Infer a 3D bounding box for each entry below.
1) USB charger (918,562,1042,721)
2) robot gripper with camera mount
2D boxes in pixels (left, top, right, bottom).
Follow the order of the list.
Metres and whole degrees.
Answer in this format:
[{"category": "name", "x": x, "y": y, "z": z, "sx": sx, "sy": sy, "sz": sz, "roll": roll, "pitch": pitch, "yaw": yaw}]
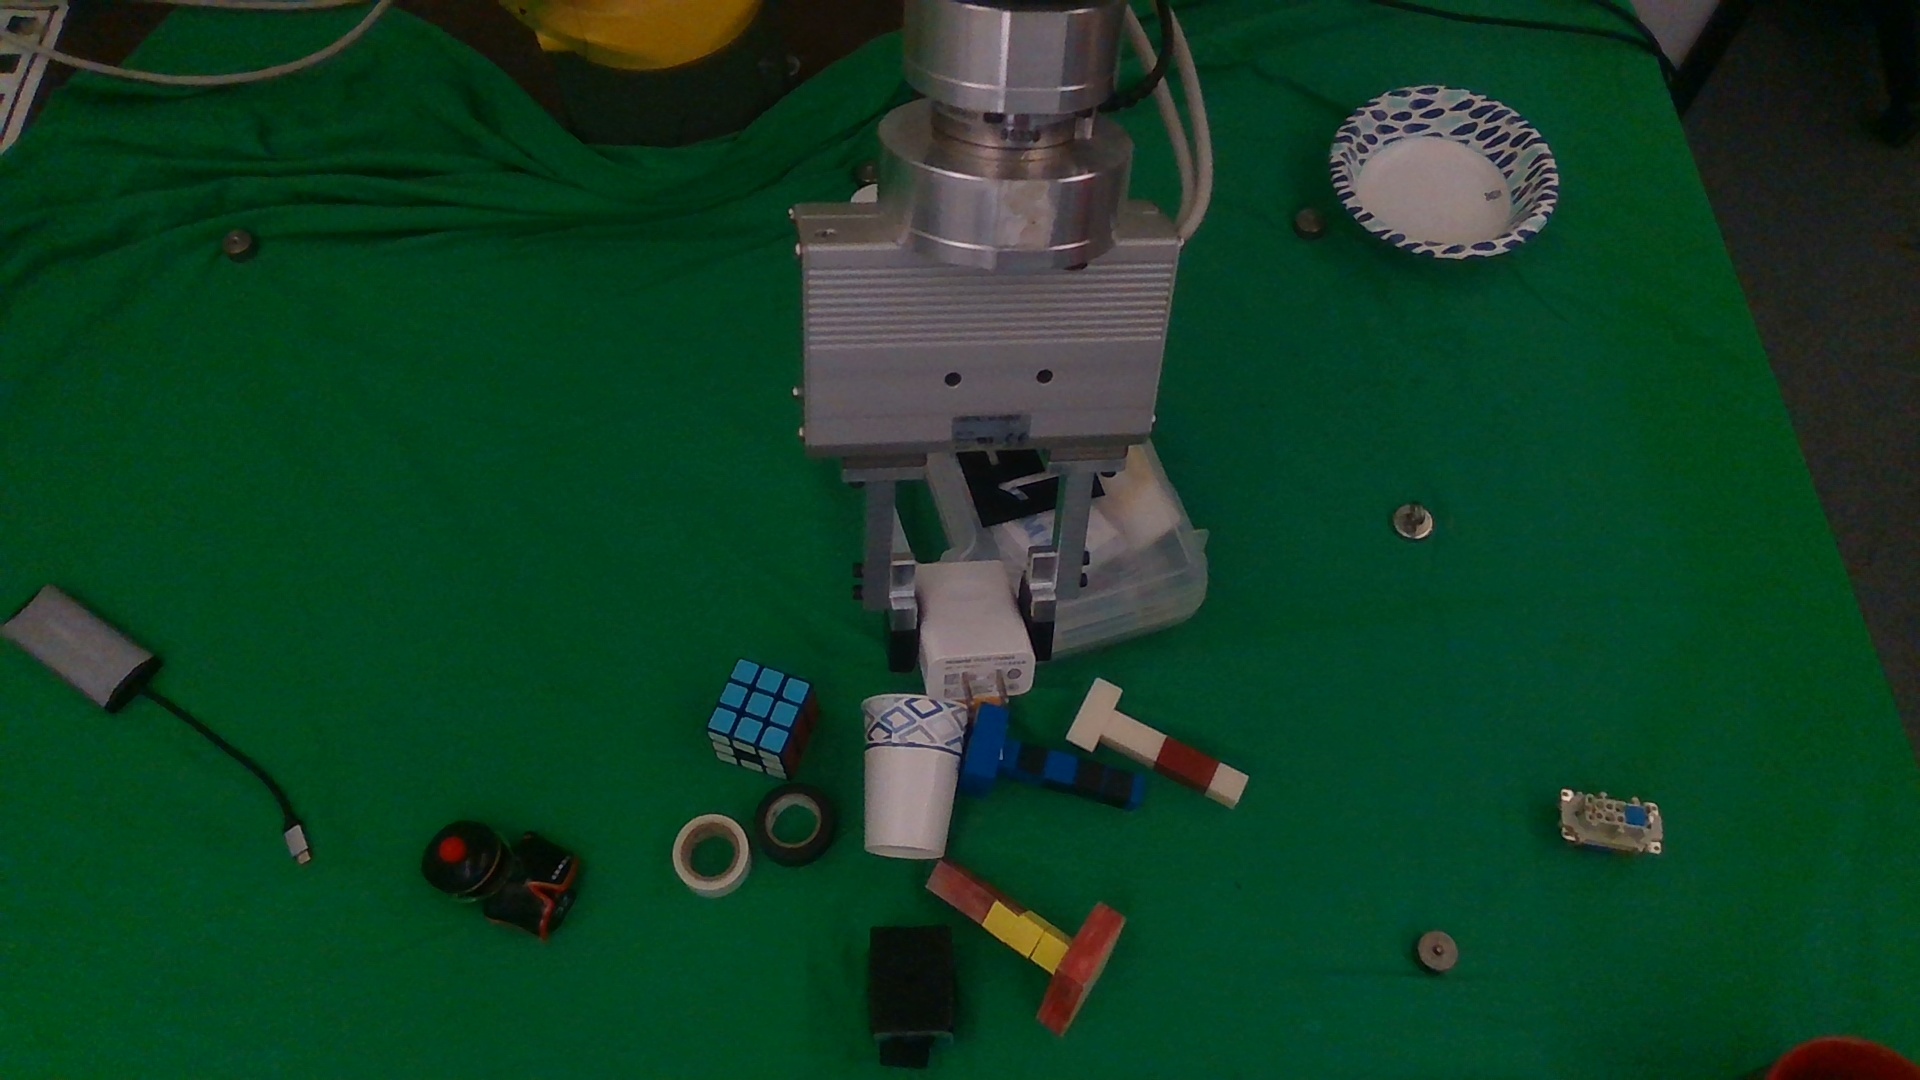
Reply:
[{"category": "USB charger", "x": 0.007, "y": 0.040, "z": 0.525, "sx": 0.045, "sy": 0.029, "sz": 0.075, "roll": -5, "pitch": 33, "yaw": 0}, {"category": "robot gripper with camera mount", "x": -0.007, "y": -0.069, "z": 0.549, "sx": 0.119, "sy": 0.158, "sz": 0.193, "roll": -3, "pitch": 38, "yaw": -11}]
